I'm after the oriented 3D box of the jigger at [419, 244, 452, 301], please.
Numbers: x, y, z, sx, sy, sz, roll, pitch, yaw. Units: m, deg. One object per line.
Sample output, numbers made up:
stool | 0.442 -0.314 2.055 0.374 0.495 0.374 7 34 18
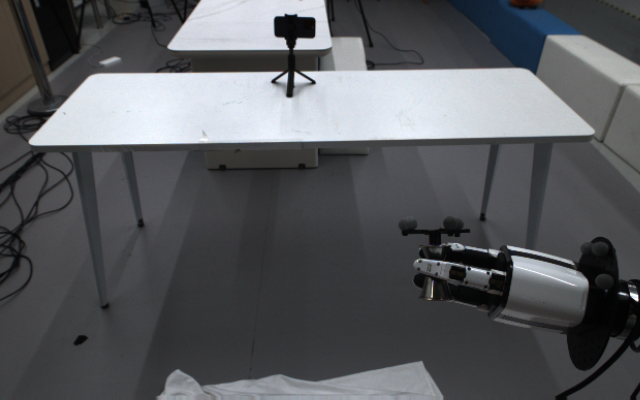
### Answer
jigger | 0.146 0.090 0.617 0.043 0.071 0.043 1 -5 0
